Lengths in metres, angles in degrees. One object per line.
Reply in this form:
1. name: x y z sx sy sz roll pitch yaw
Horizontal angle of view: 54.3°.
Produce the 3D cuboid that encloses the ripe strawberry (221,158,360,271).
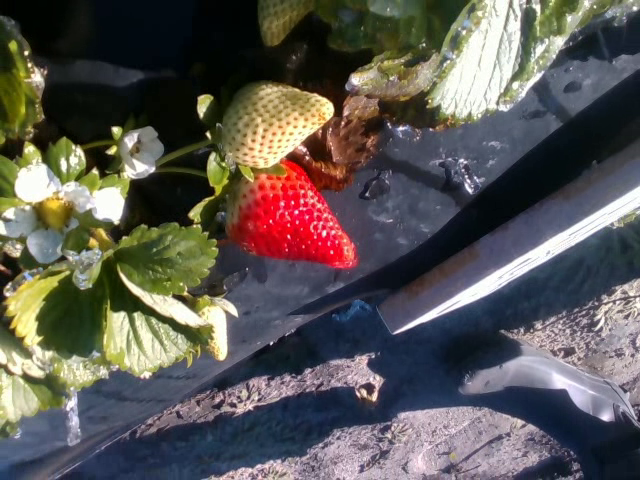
1. ripe strawberry: -0.008 -0.005 0.216 0.053 0.042 0.040 35 -36 2
